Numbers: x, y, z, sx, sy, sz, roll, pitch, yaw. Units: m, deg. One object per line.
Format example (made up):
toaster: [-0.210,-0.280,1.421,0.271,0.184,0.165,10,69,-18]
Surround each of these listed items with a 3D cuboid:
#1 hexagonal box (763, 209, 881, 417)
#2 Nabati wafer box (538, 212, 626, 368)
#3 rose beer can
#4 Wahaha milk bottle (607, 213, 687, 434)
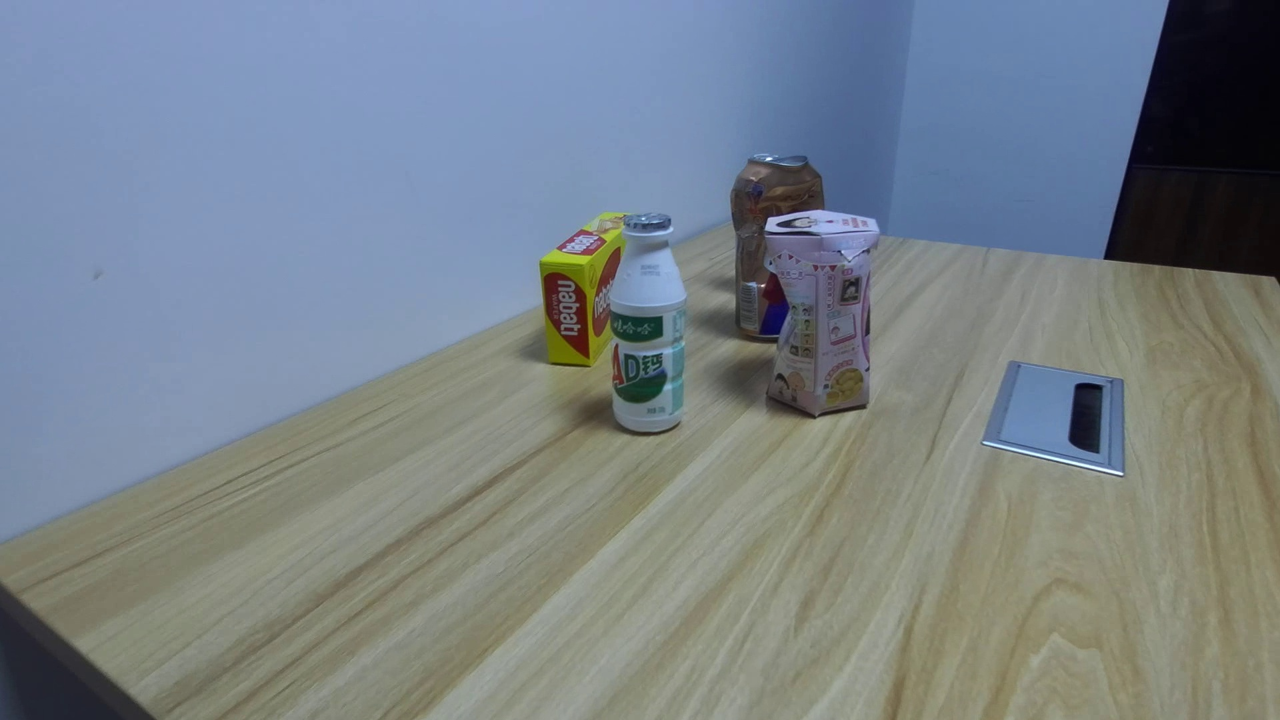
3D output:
hexagonal box: [0.131,-0.035,0.526,0.091,0.134,0.089,-18,25,-33]
Nabati wafer box: [-0.036,-0.075,0.674,0.042,0.093,0.203,4,23,14]
rose beer can: [0.125,-0.100,0.645,0.068,0.162,0.074,12,25,30]
Wahaha milk bottle: [0.005,-0.024,0.484,0.053,0.147,0.053,-1,23,1]
